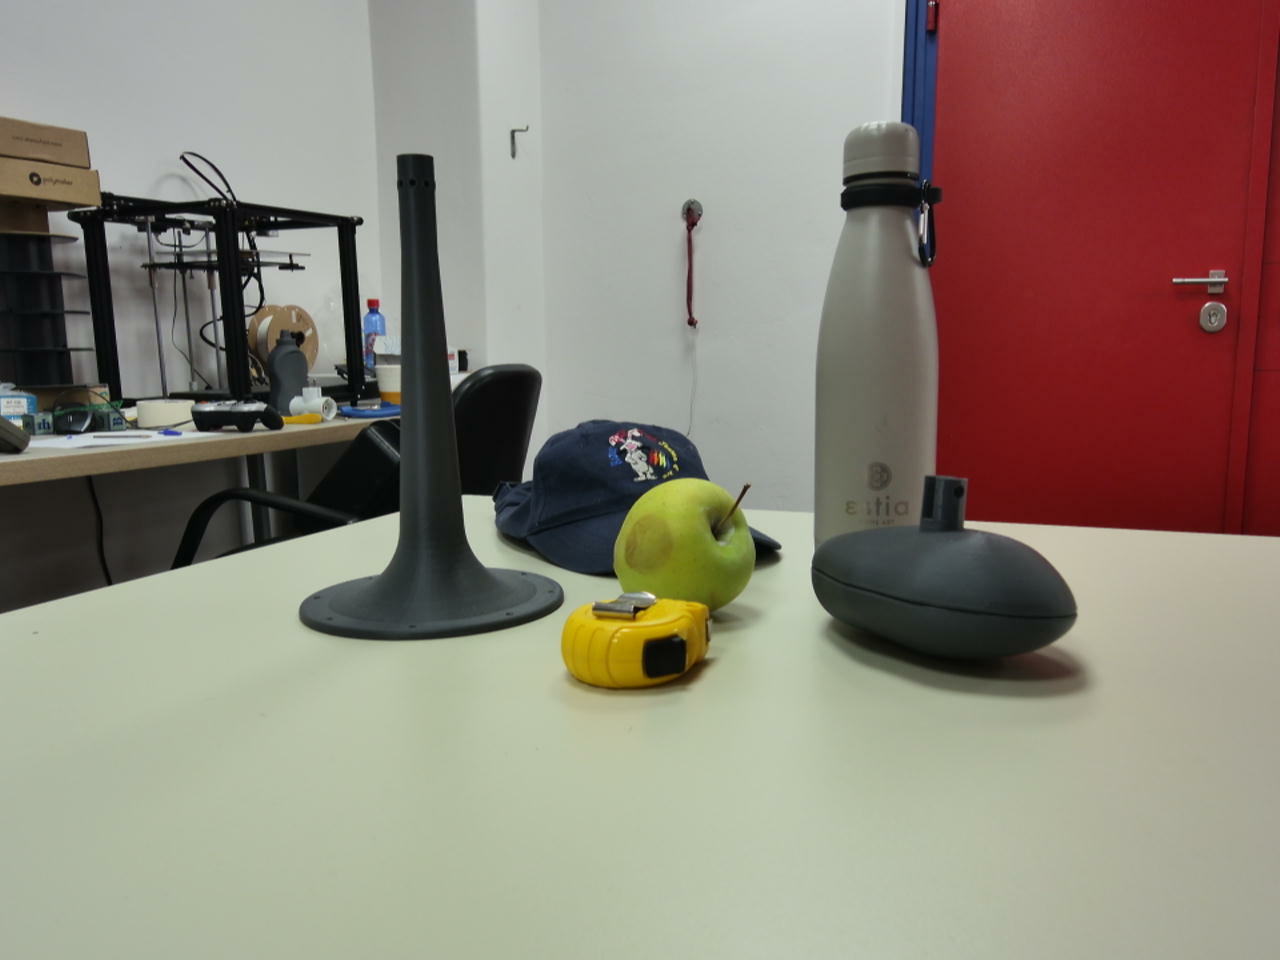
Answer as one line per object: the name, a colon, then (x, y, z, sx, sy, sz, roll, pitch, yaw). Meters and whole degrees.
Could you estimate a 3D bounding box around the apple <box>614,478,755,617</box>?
apple: (0.025, 0.037, 0.551, 0.072, 0.075, 0.077, -3, 6, -22)
